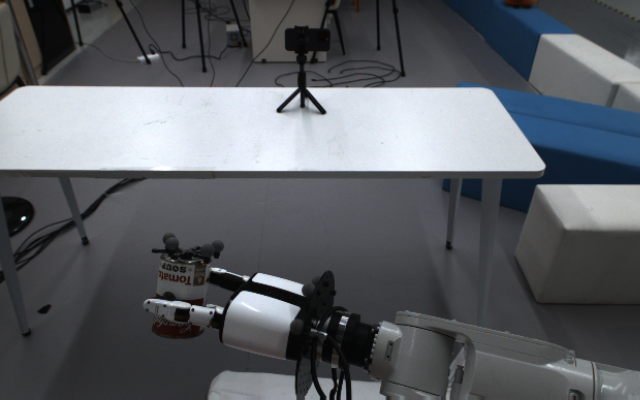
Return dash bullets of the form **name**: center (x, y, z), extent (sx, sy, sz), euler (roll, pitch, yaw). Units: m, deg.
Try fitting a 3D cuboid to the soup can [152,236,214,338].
- **soup can**: center (-0.182, 0.126, 0.644), extent (0.067, 0.101, 0.067), euler (7, 3, 0)
